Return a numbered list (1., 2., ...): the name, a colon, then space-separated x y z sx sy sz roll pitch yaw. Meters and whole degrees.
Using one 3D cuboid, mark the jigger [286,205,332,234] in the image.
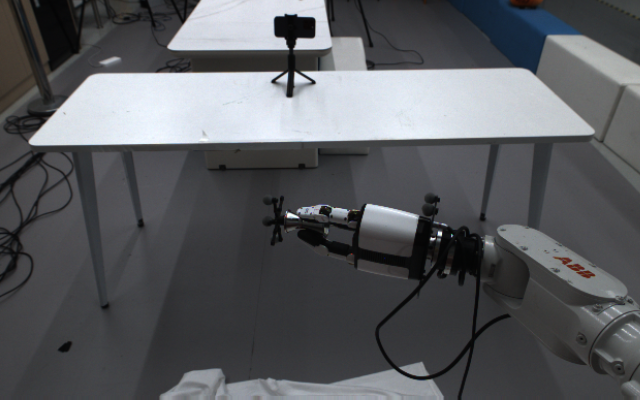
1. jigger: -0.014 0.032 0.793 0.071 0.043 0.043 3 34 12
